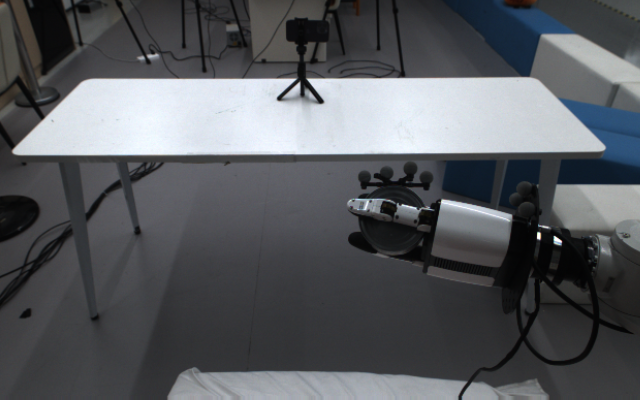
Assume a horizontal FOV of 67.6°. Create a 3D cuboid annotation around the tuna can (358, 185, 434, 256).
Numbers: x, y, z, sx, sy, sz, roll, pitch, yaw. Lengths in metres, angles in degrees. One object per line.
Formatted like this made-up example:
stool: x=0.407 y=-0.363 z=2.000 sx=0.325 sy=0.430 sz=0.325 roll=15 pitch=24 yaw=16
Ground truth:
tuna can: x=0.094 y=0.025 z=0.613 sx=0.085 sy=0.034 sz=0.085 roll=-4 pitch=70 yaw=11
